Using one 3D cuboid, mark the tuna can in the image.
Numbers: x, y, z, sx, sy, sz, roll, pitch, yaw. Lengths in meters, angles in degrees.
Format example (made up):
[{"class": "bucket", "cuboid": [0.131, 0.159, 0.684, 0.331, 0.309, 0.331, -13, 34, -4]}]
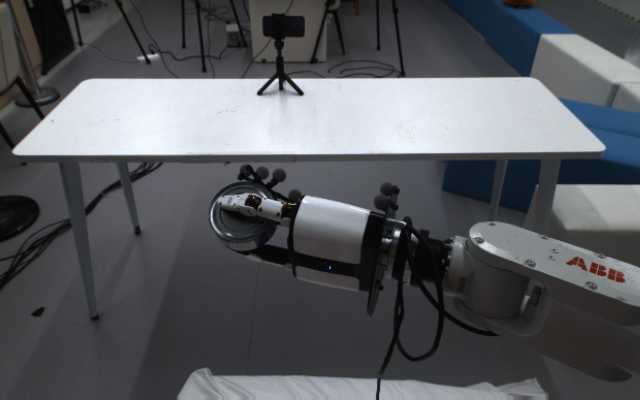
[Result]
[{"class": "tuna can", "cuboid": [-0.096, 0.021, 0.621, 0.085, 0.034, 0.085, -2, 60, 3]}]
